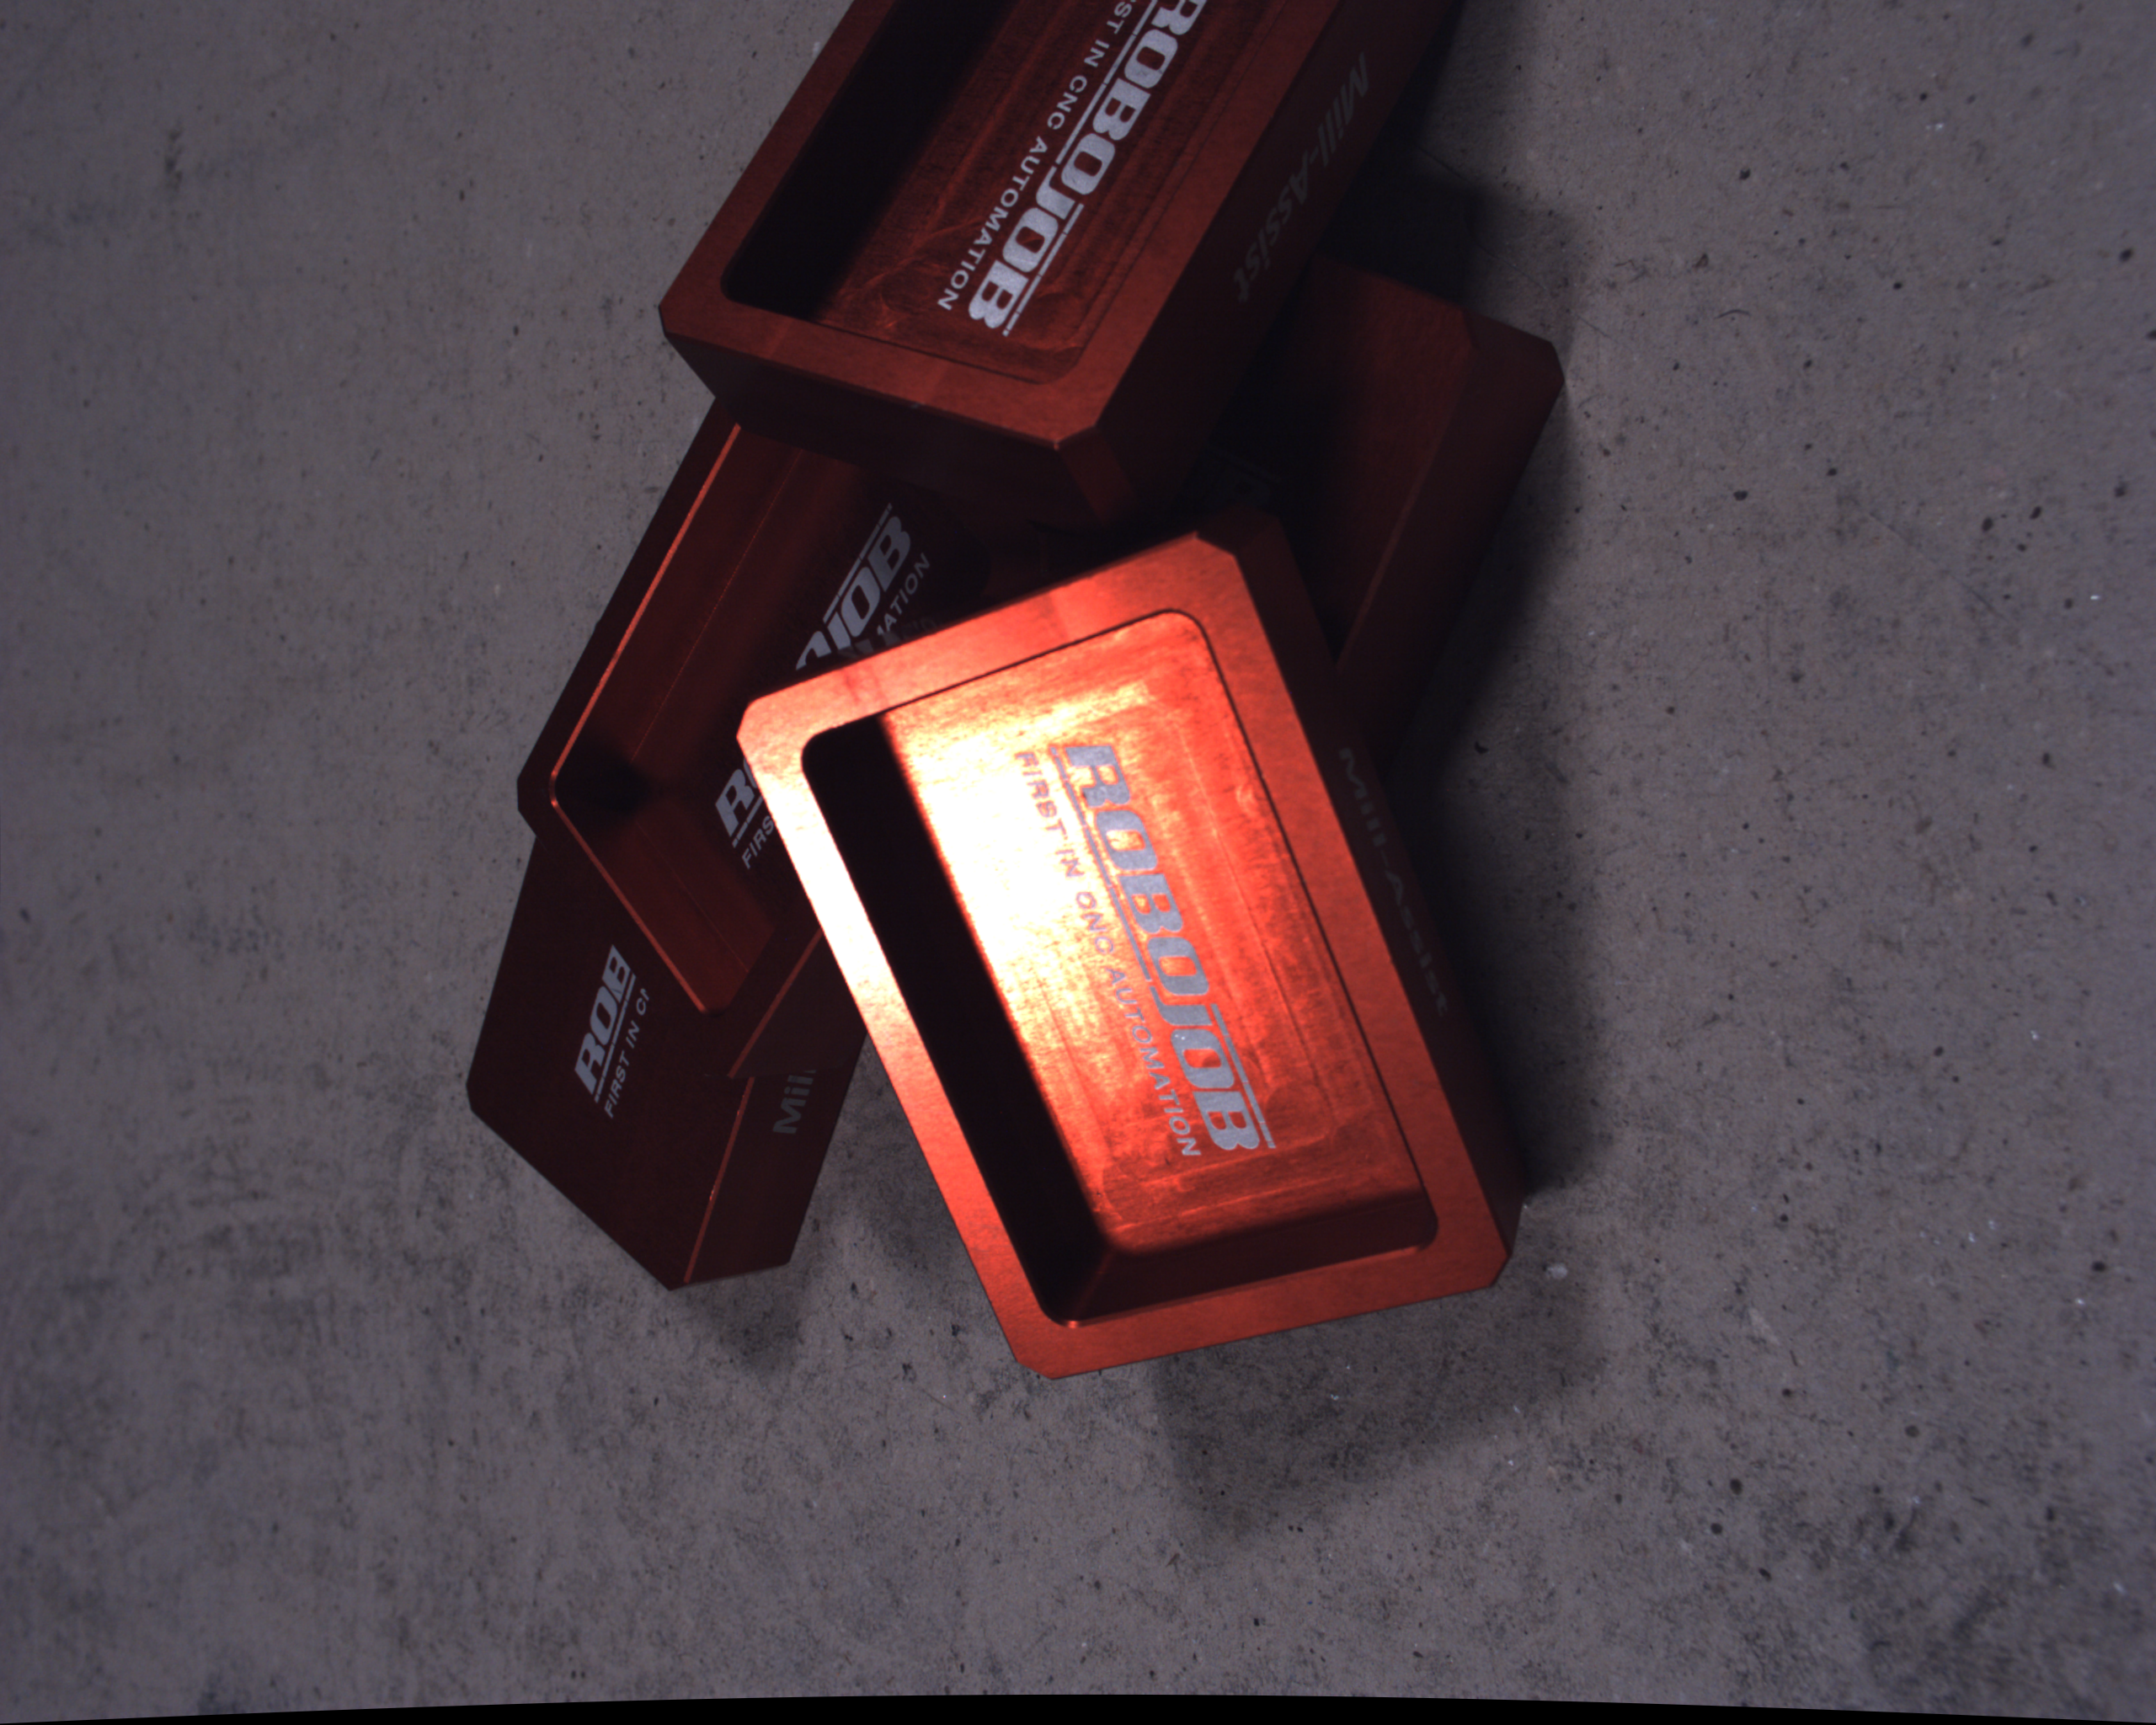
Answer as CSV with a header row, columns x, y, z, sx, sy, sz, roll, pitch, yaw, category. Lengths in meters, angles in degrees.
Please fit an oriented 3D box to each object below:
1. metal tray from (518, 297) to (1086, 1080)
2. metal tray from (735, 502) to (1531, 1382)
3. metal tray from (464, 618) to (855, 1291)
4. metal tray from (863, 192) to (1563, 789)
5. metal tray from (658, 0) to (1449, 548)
x,y,z,sx,sy,sz,roll,pitch,yaw,category
-0.052,-0.033,0.405,0.090,0.030,0.129,49,118,28,metal tray
0.011,0.016,0.348,0.090,0.030,0.129,-18,103,22,metal tray
-0.088,0.018,0.472,0.090,0.030,0.129,31,109,35,metal tray
0.014,-0.076,0.390,0.130,0.030,0.089,34,110,34,metal tray
-0.001,-0.125,0.358,0.090,0.030,0.130,22,76,27,metal tray
